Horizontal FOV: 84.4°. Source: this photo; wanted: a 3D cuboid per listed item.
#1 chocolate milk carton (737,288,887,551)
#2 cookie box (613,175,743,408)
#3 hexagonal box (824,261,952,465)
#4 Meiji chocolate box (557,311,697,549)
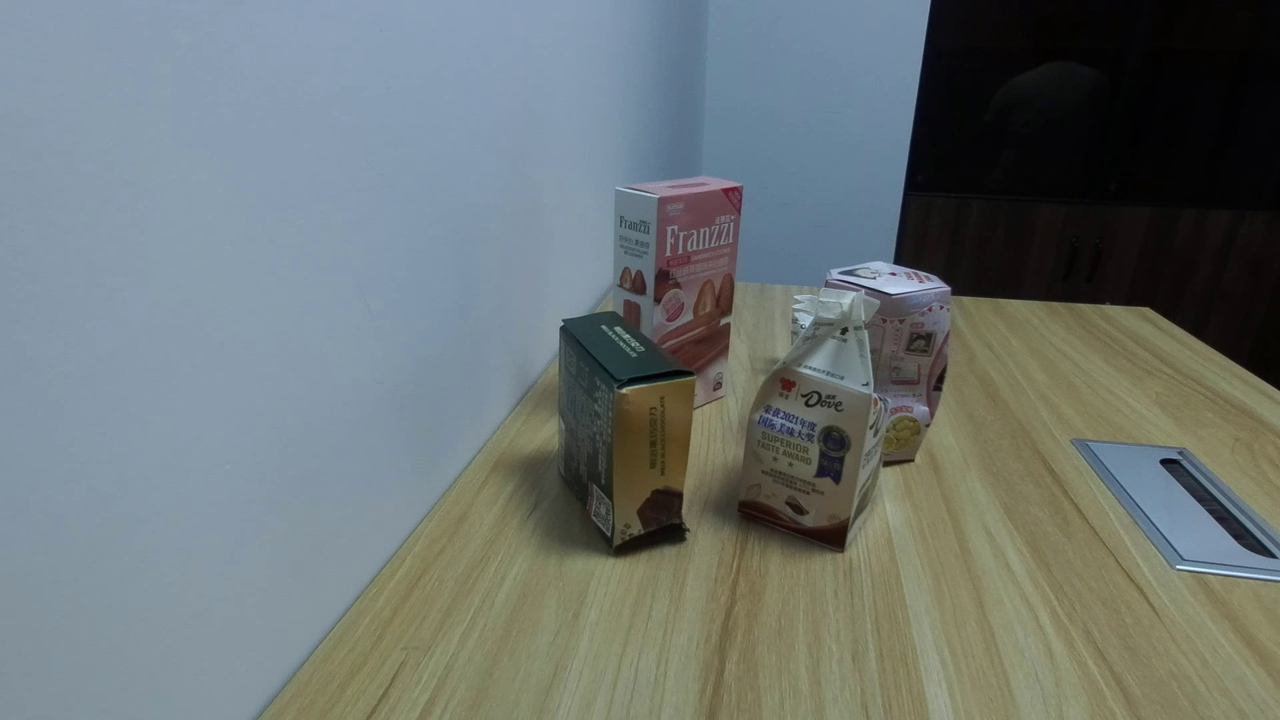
[{"bbox_3d":[0.113,0.025,0.430,0.073,0.155,0.076,16,26,27],"label":"chocolate milk carton"},{"bbox_3d":[0.029,-0.047,0.565,0.096,0.184,0.048,-20,32,-41],"label":"cookie box"},{"bbox_3d":[0.172,0.003,0.517,0.093,0.134,0.088,-8,24,-22],"label":"hexagonal box"},{"bbox_3d":[-0.013,0.041,0.446,0.059,0.116,0.122,-6,21,-21],"label":"Meiji chocolate box"}]
